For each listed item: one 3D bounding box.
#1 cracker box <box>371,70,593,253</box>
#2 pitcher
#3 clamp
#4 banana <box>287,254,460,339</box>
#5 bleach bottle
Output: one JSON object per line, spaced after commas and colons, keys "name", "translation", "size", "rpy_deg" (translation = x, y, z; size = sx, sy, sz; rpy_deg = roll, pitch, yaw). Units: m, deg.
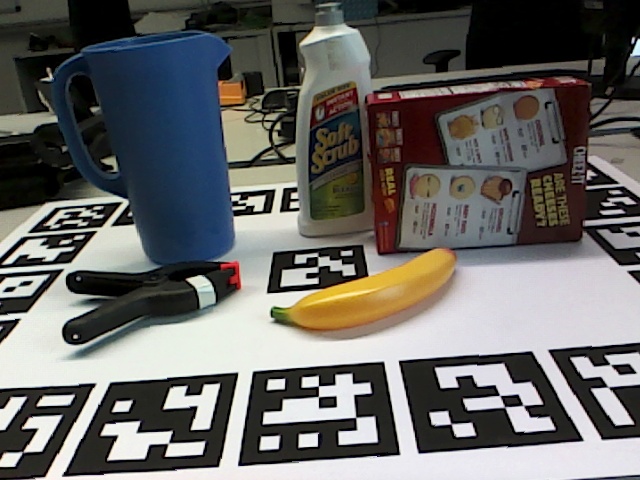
{"name": "cracker box", "translation": [0.168, -0.083, 0.655], "size": [0.214, 0.164, 0.072], "rpy_deg": [-7, 19, 4]}
{"name": "pitcher", "translation": [-0.178, -0.105, 0.679], "size": [0.188, 0.242, 0.134], "rpy_deg": [-10, 21, -18]}
{"name": "clamp", "translation": [-0.151, 0.058, 0.601], "size": [0.164, 0.036, 0.122], "rpy_deg": [-10, 21, -15]}
{"name": "banana", "translation": [0.069, 0.052, 0.576], "size": [0.196, 0.039, 0.075], "rpy_deg": [-20, 25, -30]}
{"name": "bleach bottle", "translation": [0.010, -0.120, 0.719], "size": [0.102, 0.250, 0.068], "rpy_deg": [-6, 21, 1]}
